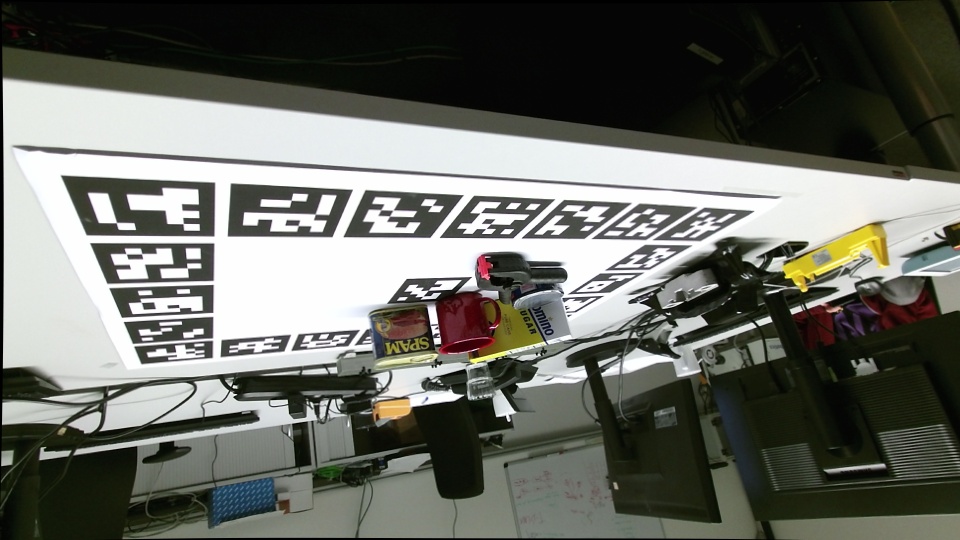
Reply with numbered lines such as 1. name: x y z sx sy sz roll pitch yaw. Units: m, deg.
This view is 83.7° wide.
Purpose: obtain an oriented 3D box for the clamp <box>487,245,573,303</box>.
1. clamp: 0.062 0.004 0.775 0.122 0.036 0.166 -20 153 26

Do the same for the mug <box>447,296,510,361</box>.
1. mug: 0.002 0.088 0.858 0.117 0.081 0.093 -31 151 32

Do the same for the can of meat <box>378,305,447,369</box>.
1. can of meat: -0.110 0.106 0.856 0.102 0.083 0.058 -4 157 -18

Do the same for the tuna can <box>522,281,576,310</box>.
1. tuna can: 0.110 0.031 0.852 0.086 0.033 0.086 -12 156 -5

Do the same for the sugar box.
1. sugar box: 0.078 0.090 0.913 0.177 0.092 0.045 -16 159 9
